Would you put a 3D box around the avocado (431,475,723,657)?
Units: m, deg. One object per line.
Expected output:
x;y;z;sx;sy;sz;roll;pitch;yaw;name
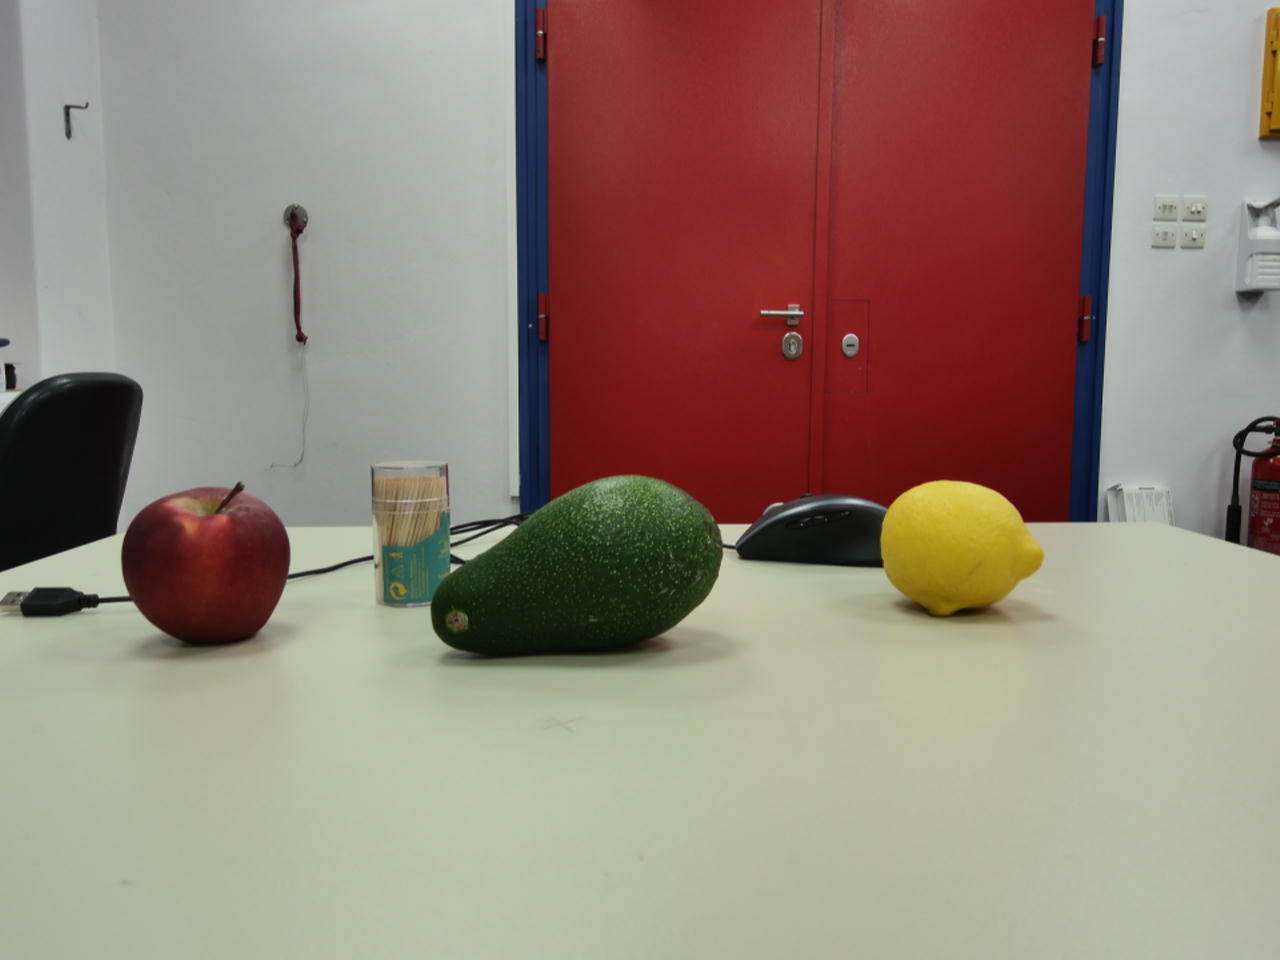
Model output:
-0.025;0.036;0.442;0.123;0.076;0.074;0;4;6;avocado
